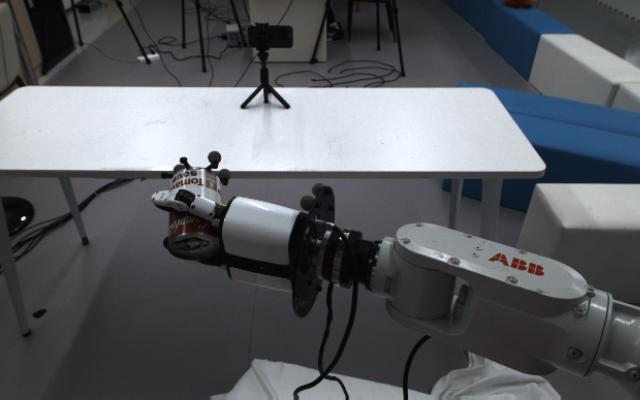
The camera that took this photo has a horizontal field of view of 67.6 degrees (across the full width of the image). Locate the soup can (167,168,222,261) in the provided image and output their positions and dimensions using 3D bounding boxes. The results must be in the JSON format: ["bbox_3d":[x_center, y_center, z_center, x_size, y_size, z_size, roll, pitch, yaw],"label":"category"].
[{"bbox_3d":[-0.158,0.018,0.620,0.067,0.067,0.101,-5,56,-9],"label":"soup can"}]
